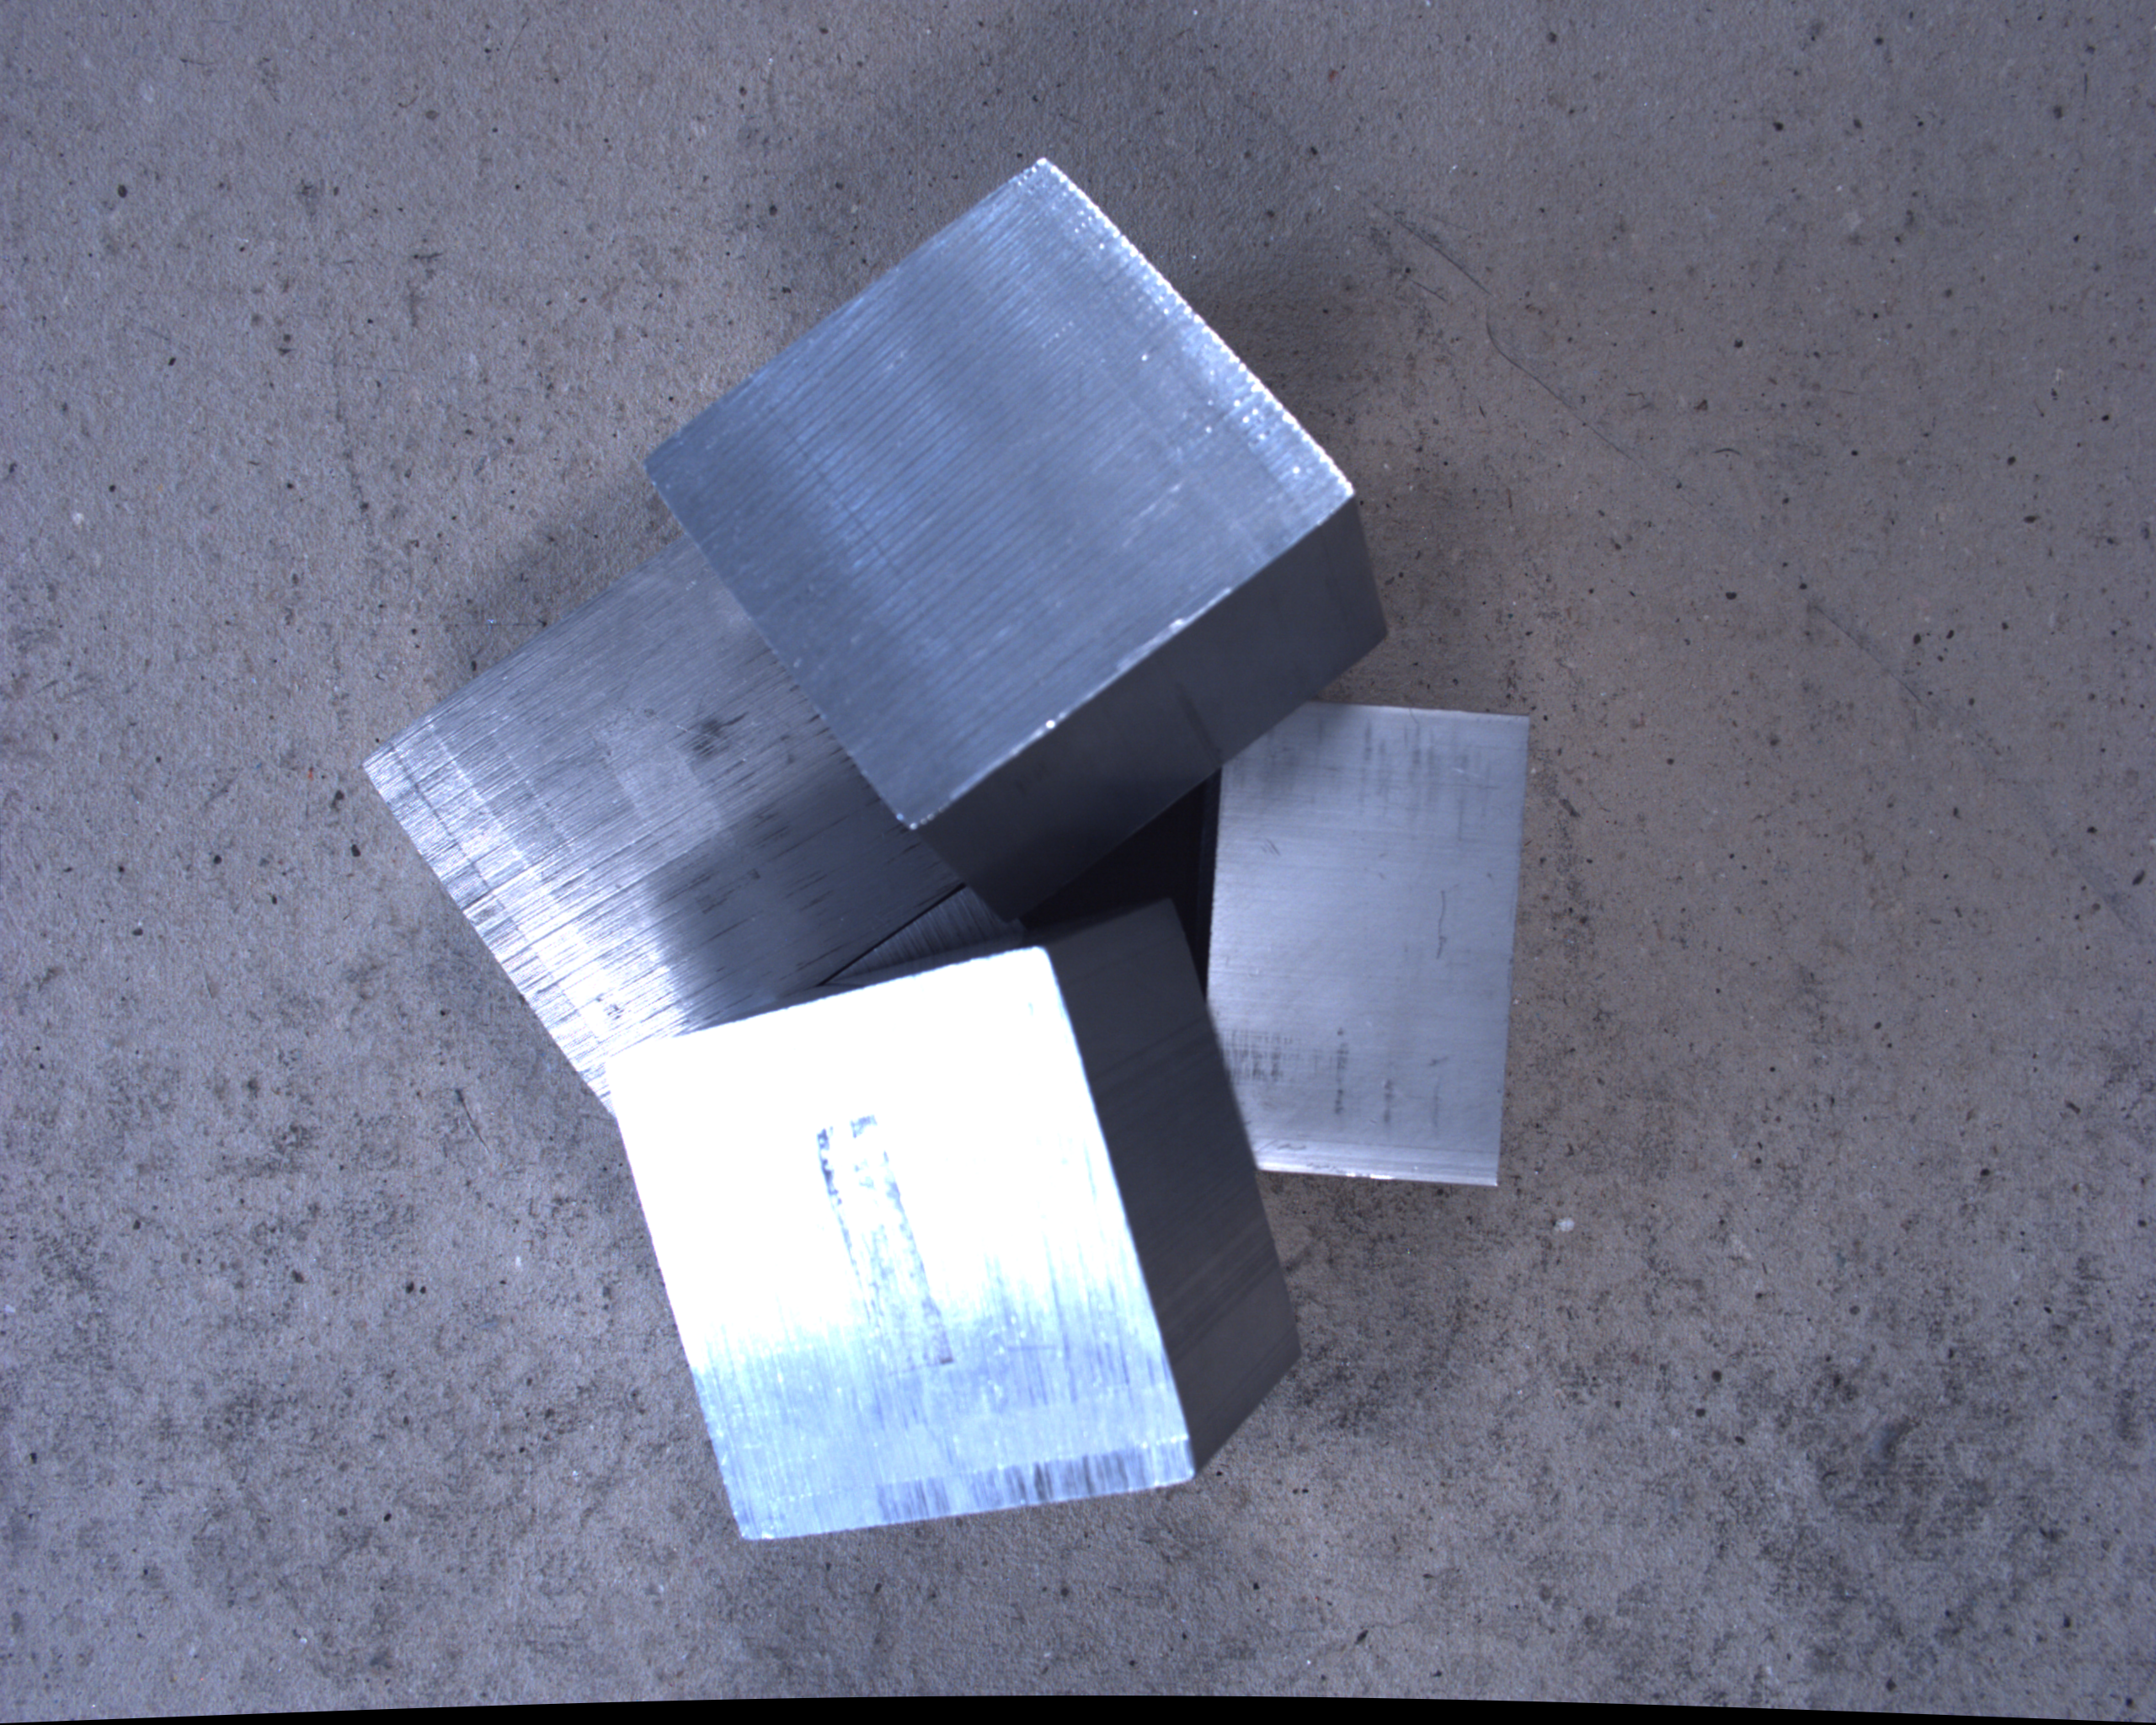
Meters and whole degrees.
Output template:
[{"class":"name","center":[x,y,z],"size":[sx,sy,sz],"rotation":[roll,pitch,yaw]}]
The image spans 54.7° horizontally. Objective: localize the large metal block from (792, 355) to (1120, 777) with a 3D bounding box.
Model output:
[{"class":"large metal block","center":[-0.008,-0.056,0.397],"size":[0.080,0.050,0.080],"rotation":[-36,90,-1]}]

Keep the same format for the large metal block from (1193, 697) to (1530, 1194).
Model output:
[{"class":"large metal block","center":[0.047,0.013,0.384],"size":[0.050,0.080,0.080],"rotation":[4,90,0]}]

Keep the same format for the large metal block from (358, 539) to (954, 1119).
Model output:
[{"class":"large metal block","center":[-0.073,-0.008,0.399],"size":[0.080,0.050,0.080],"rotation":[-36,91,0]}]

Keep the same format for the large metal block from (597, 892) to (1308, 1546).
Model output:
[{"class":"large metal block","center":[-0.019,0.056,0.334],"size":[0.080,0.050,0.080],"rotation":[-16,91,24]}]

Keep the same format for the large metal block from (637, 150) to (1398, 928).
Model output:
[{"class":"large metal block","center":[-0.008,-0.050,0.333],"size":[0.080,0.050,0.080],"rotation":[-37,67,-1]}]

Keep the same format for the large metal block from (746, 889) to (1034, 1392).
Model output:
[{"class":"large metal block","center":[-0.026,0.056,0.400],"size":[0.080,0.050,0.080],"rotation":[-36,90,0]}]
